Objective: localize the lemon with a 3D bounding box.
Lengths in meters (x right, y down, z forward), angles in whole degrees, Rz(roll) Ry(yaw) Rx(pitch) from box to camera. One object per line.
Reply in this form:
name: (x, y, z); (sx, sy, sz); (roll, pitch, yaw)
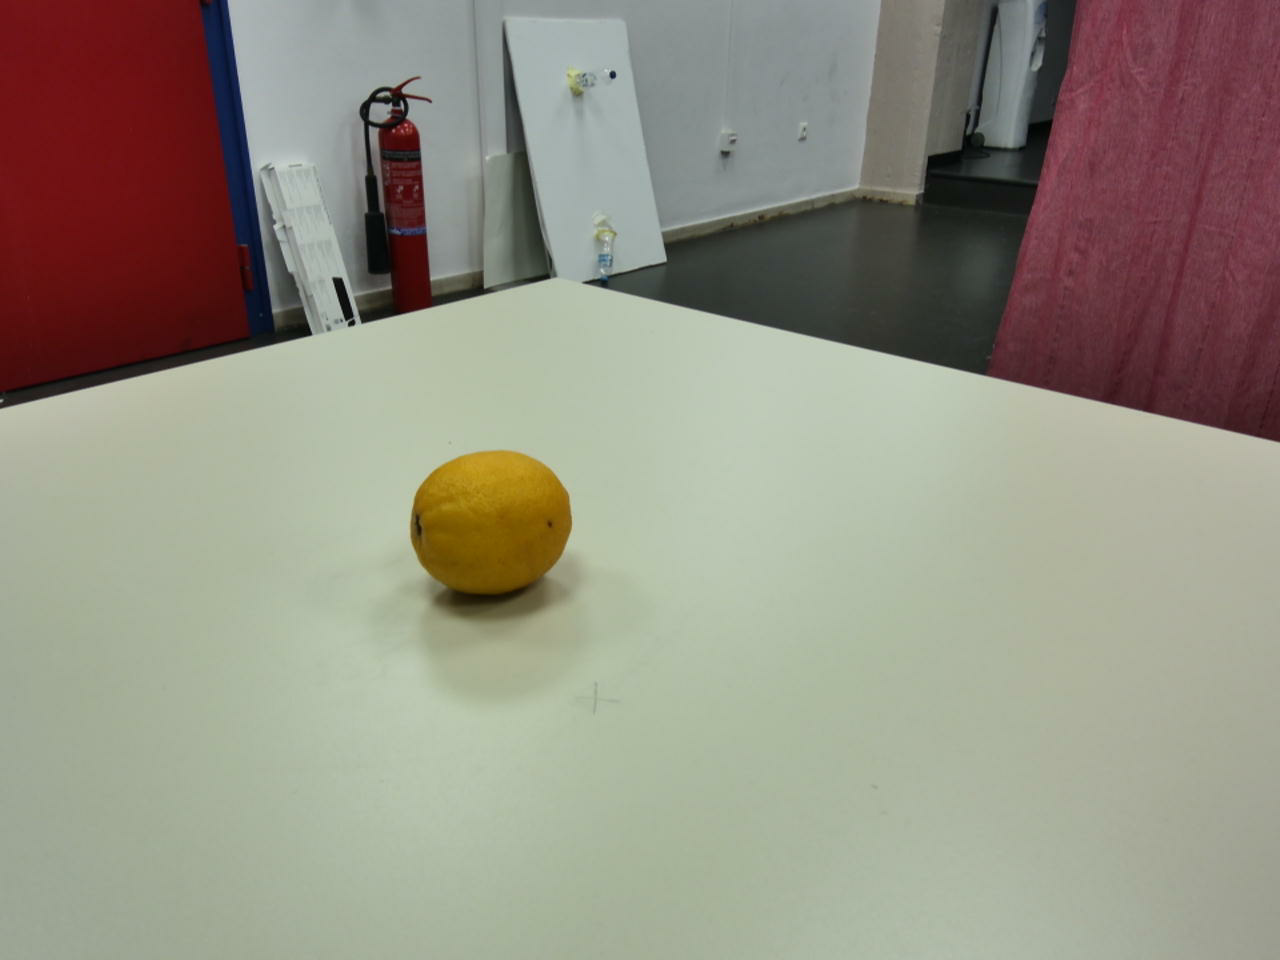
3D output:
lemon: (-0.062, 0.018, 0.417); (0.067, 0.059, 0.061); (-3, 23, -8)
